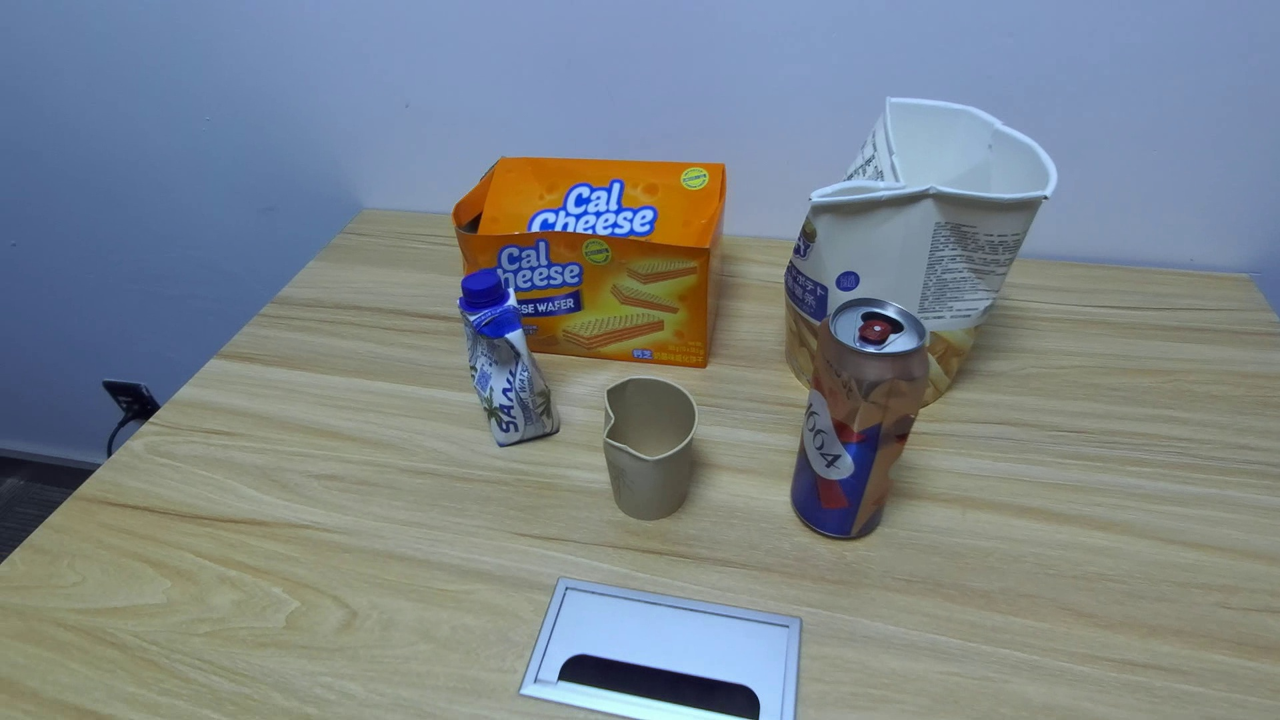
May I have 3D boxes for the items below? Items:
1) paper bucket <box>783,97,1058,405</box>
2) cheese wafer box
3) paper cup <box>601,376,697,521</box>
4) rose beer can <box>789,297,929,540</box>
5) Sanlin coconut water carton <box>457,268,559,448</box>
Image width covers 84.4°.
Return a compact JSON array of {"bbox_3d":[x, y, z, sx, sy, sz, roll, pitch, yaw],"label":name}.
[{"bbox_3d":[0.200,-0.083,0.572,0.169,0.202,0.162,2,40,2],"label":"paper bucket"},{"bbox_3d":[-0.040,-0.094,0.654,0.230,0.132,0.152,6,44,11],"label":"cheese wafer box"},{"bbox_3d":[0.007,0.066,0.500,0.073,0.081,0.069,20,46,24],"label":"paper cup"},{"bbox_3d":[0.140,0.043,0.456,0.065,0.167,0.075,2,39,2],"label":"rose beer can"},{"bbox_3d":[-0.106,0.005,0.540,0.057,0.145,0.068,-19,49,-6],"label":"Sanlin coconut water carton"}]
